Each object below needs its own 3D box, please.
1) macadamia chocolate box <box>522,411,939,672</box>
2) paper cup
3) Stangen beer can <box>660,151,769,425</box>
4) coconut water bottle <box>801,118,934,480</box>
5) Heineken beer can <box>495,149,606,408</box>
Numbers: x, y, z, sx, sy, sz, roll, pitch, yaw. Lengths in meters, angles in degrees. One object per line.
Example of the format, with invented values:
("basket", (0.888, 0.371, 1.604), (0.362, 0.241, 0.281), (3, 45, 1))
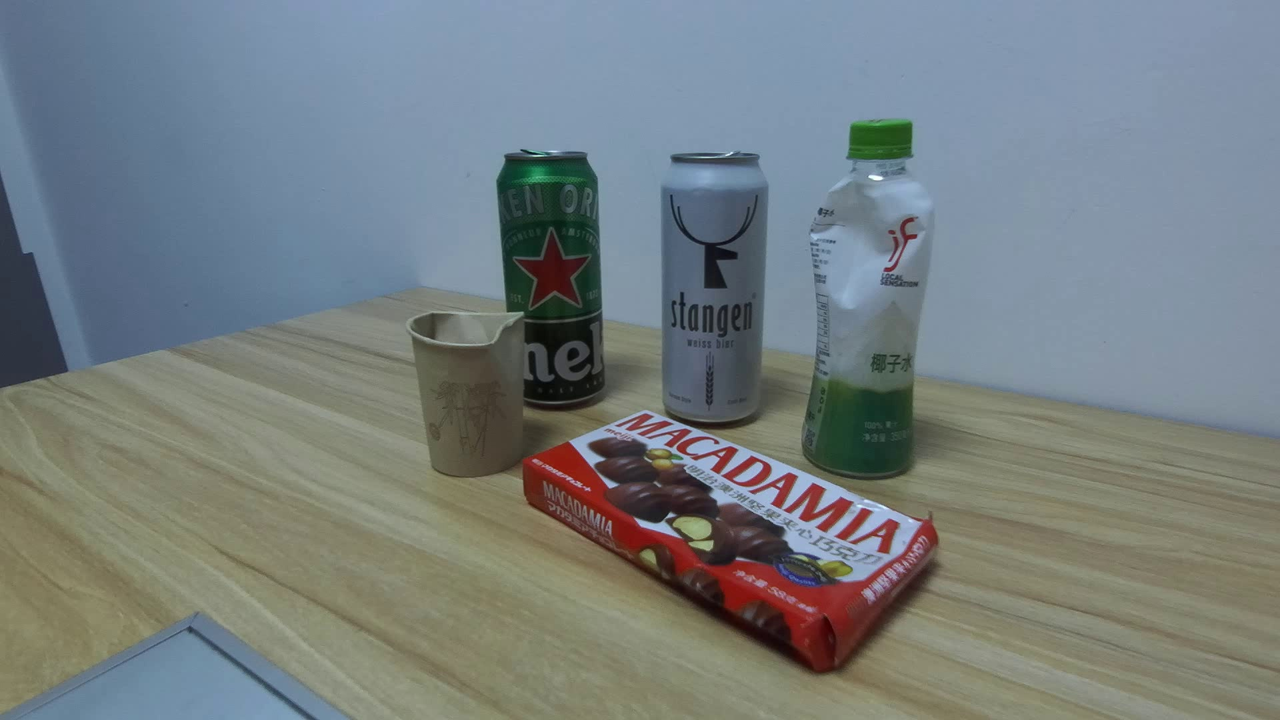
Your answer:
("macadamia chocolate box", (0.036, 0.072, 0.335), (0.182, 0.028, 0.106), (17, 25, 41))
("paper cup", (-0.101, 0.019, 0.409), (0.066, 0.084, 0.071), (3, 19, 11))
("Stangen beer can", (0.047, -0.044, 0.456), (0.067, 0.171, 0.067), (0, 18, 0))
("coconut water bottle", (0.125, -0.032, 0.385), (0.069, 0.187, 0.069), (0, 19, 0))
("Heineken beer can", (-0.060, -0.054, 0.490), (0.067, 0.169, 0.067), (-1, 18, 1))
